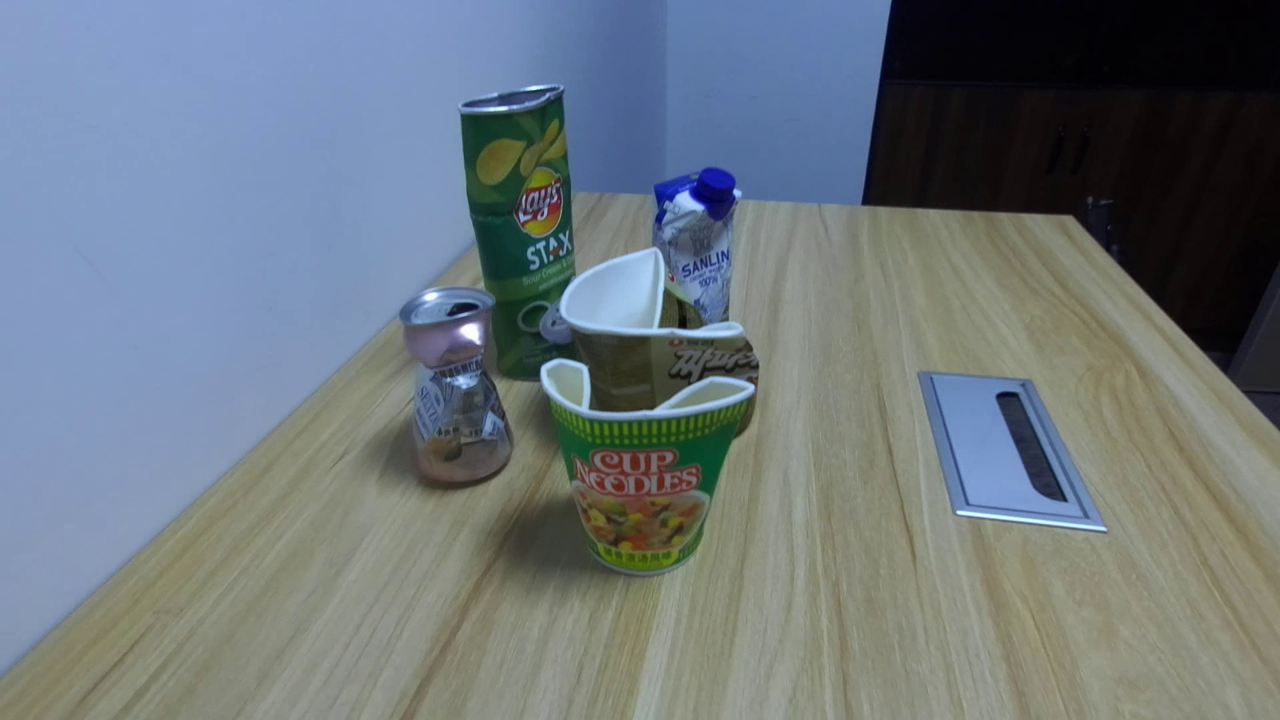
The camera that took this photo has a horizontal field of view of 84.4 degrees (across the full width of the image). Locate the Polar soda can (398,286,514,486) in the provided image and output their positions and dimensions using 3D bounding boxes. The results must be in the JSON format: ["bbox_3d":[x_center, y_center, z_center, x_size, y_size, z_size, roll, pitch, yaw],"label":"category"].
[{"bbox_3d":[-0.114,0.015,0.436,0.074,0.114,0.070,14,28,20],"label":"Polar soda can"}]

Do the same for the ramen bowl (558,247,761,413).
[{"bbox_3d":[0.016,-0.008,0.481,0.137,0.098,0.137,-1,29,1],"label":"ramen bowl"}]

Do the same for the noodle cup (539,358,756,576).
[{"bbox_3d":[0.000,0.049,0.368,0.075,0.122,0.082,-33,52,-30],"label":"noodle cup"}]

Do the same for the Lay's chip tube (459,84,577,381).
[{"bbox_3d":[-0.081,-0.087,0.516,0.069,0.200,0.074,-4,31,-5],"label":"Lay's chip tube"}]

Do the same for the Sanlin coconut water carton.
[{"bbox_3d":[0.043,-0.084,0.564,0.078,0.142,0.057,-27,44,-36],"label":"Sanlin coconut water carton"}]
